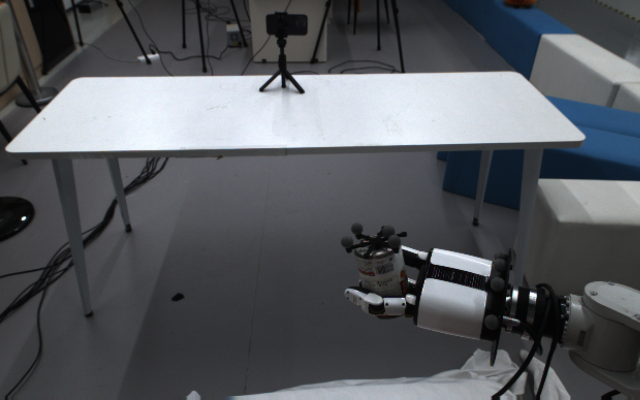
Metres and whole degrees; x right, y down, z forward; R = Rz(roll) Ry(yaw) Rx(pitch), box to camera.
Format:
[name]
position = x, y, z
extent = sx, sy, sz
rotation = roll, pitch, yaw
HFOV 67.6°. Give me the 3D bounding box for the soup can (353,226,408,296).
[soup can]
position = 0.092, 0.109, 0.690
extent = 0.067, 0.101, 0.067
rotation = -12, 19, 4
